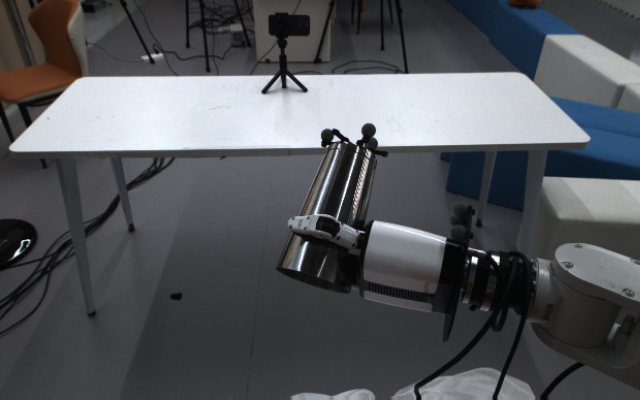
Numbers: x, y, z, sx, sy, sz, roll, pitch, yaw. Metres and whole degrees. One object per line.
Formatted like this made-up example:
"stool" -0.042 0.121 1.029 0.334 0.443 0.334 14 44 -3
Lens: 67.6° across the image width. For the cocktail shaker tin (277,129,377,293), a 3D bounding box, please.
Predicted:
"cocktail shaker tin" 0.015 0.019 0.594 0.093 0.093 0.170 14 72 16
